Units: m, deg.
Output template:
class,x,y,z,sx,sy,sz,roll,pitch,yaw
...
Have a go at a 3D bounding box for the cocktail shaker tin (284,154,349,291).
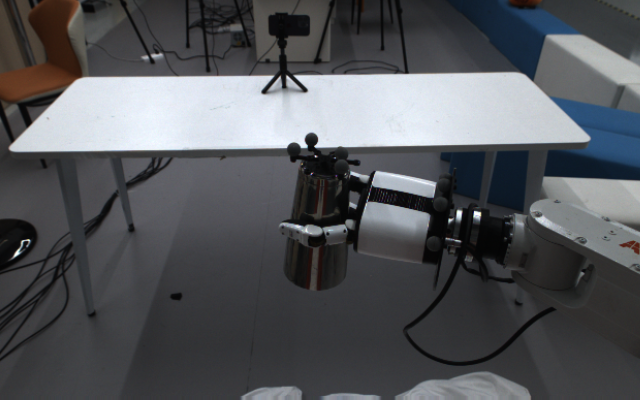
class,x,y,z,sx,sy,sz,roll,pitch,yaw
cocktail shaker tin,0.000,0.027,0.658,0.093,0.170,0.093,4,32,-2
